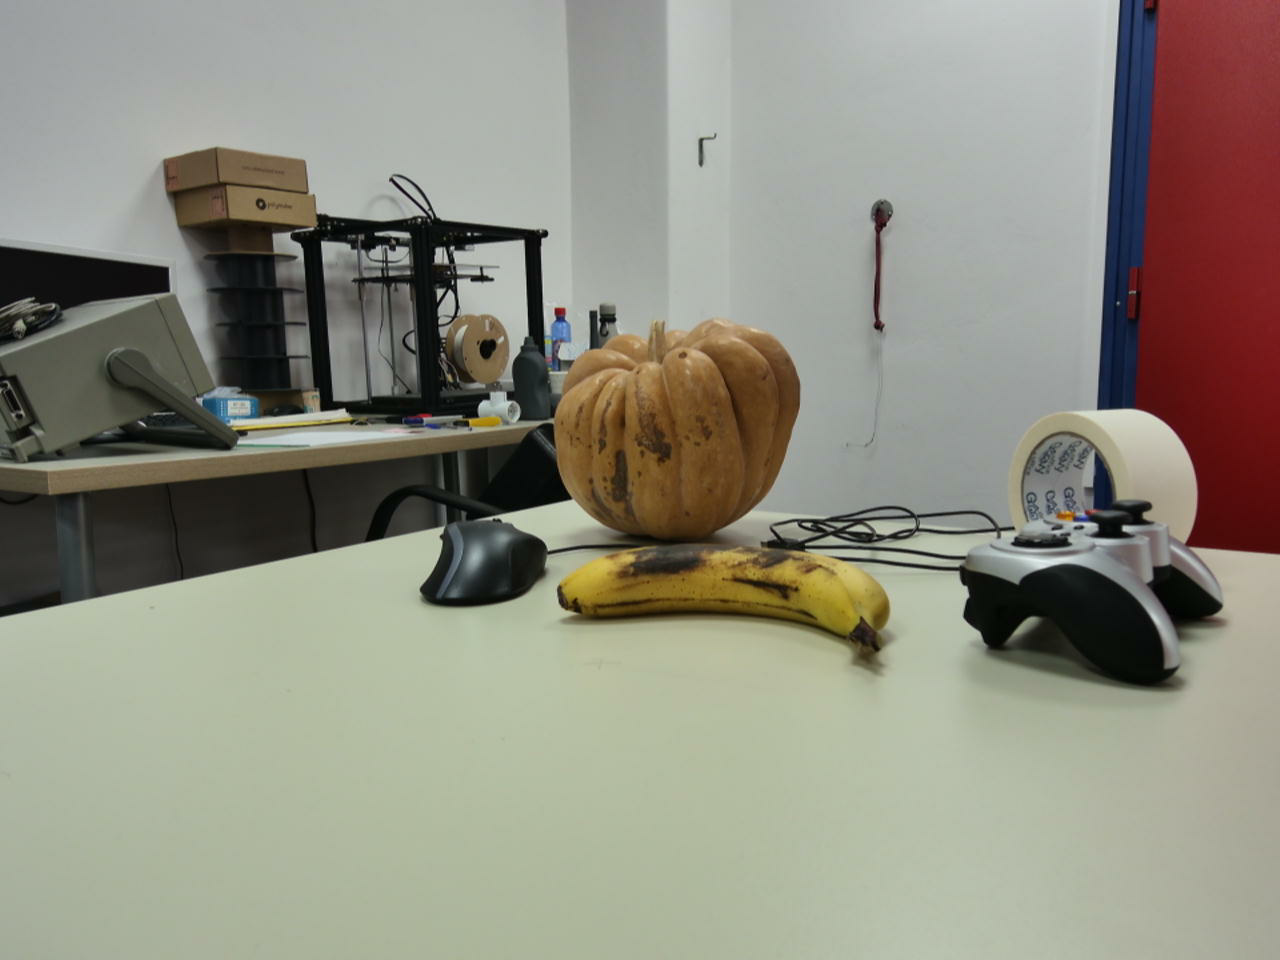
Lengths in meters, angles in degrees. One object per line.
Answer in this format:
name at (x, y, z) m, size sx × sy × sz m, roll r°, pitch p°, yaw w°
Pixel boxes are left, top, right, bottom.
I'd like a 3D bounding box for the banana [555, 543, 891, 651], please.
banana at (0.055, 0.060, 0.541) m, size 0.187 × 0.039 × 0.094 m, roll 4°, pitch 6°, yaw 34°
